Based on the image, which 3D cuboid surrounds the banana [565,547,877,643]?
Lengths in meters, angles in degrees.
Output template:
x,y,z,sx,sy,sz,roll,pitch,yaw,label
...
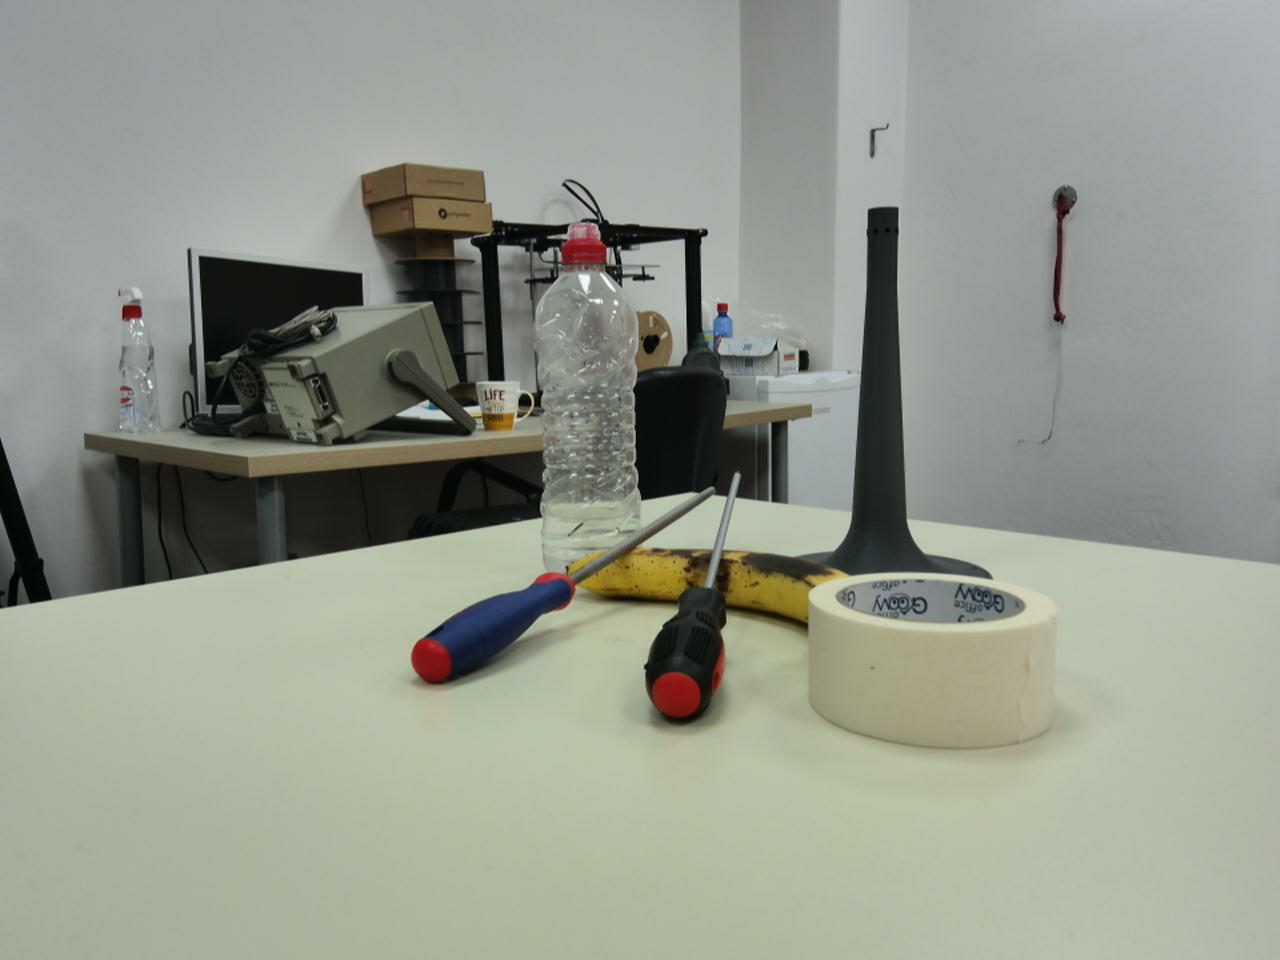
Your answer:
x,y,z,sx,sy,sz,roll,pitch,yaw,label
0.055,0.064,0.611,0.084,0.037,0.222,-5,8,-43,banana
